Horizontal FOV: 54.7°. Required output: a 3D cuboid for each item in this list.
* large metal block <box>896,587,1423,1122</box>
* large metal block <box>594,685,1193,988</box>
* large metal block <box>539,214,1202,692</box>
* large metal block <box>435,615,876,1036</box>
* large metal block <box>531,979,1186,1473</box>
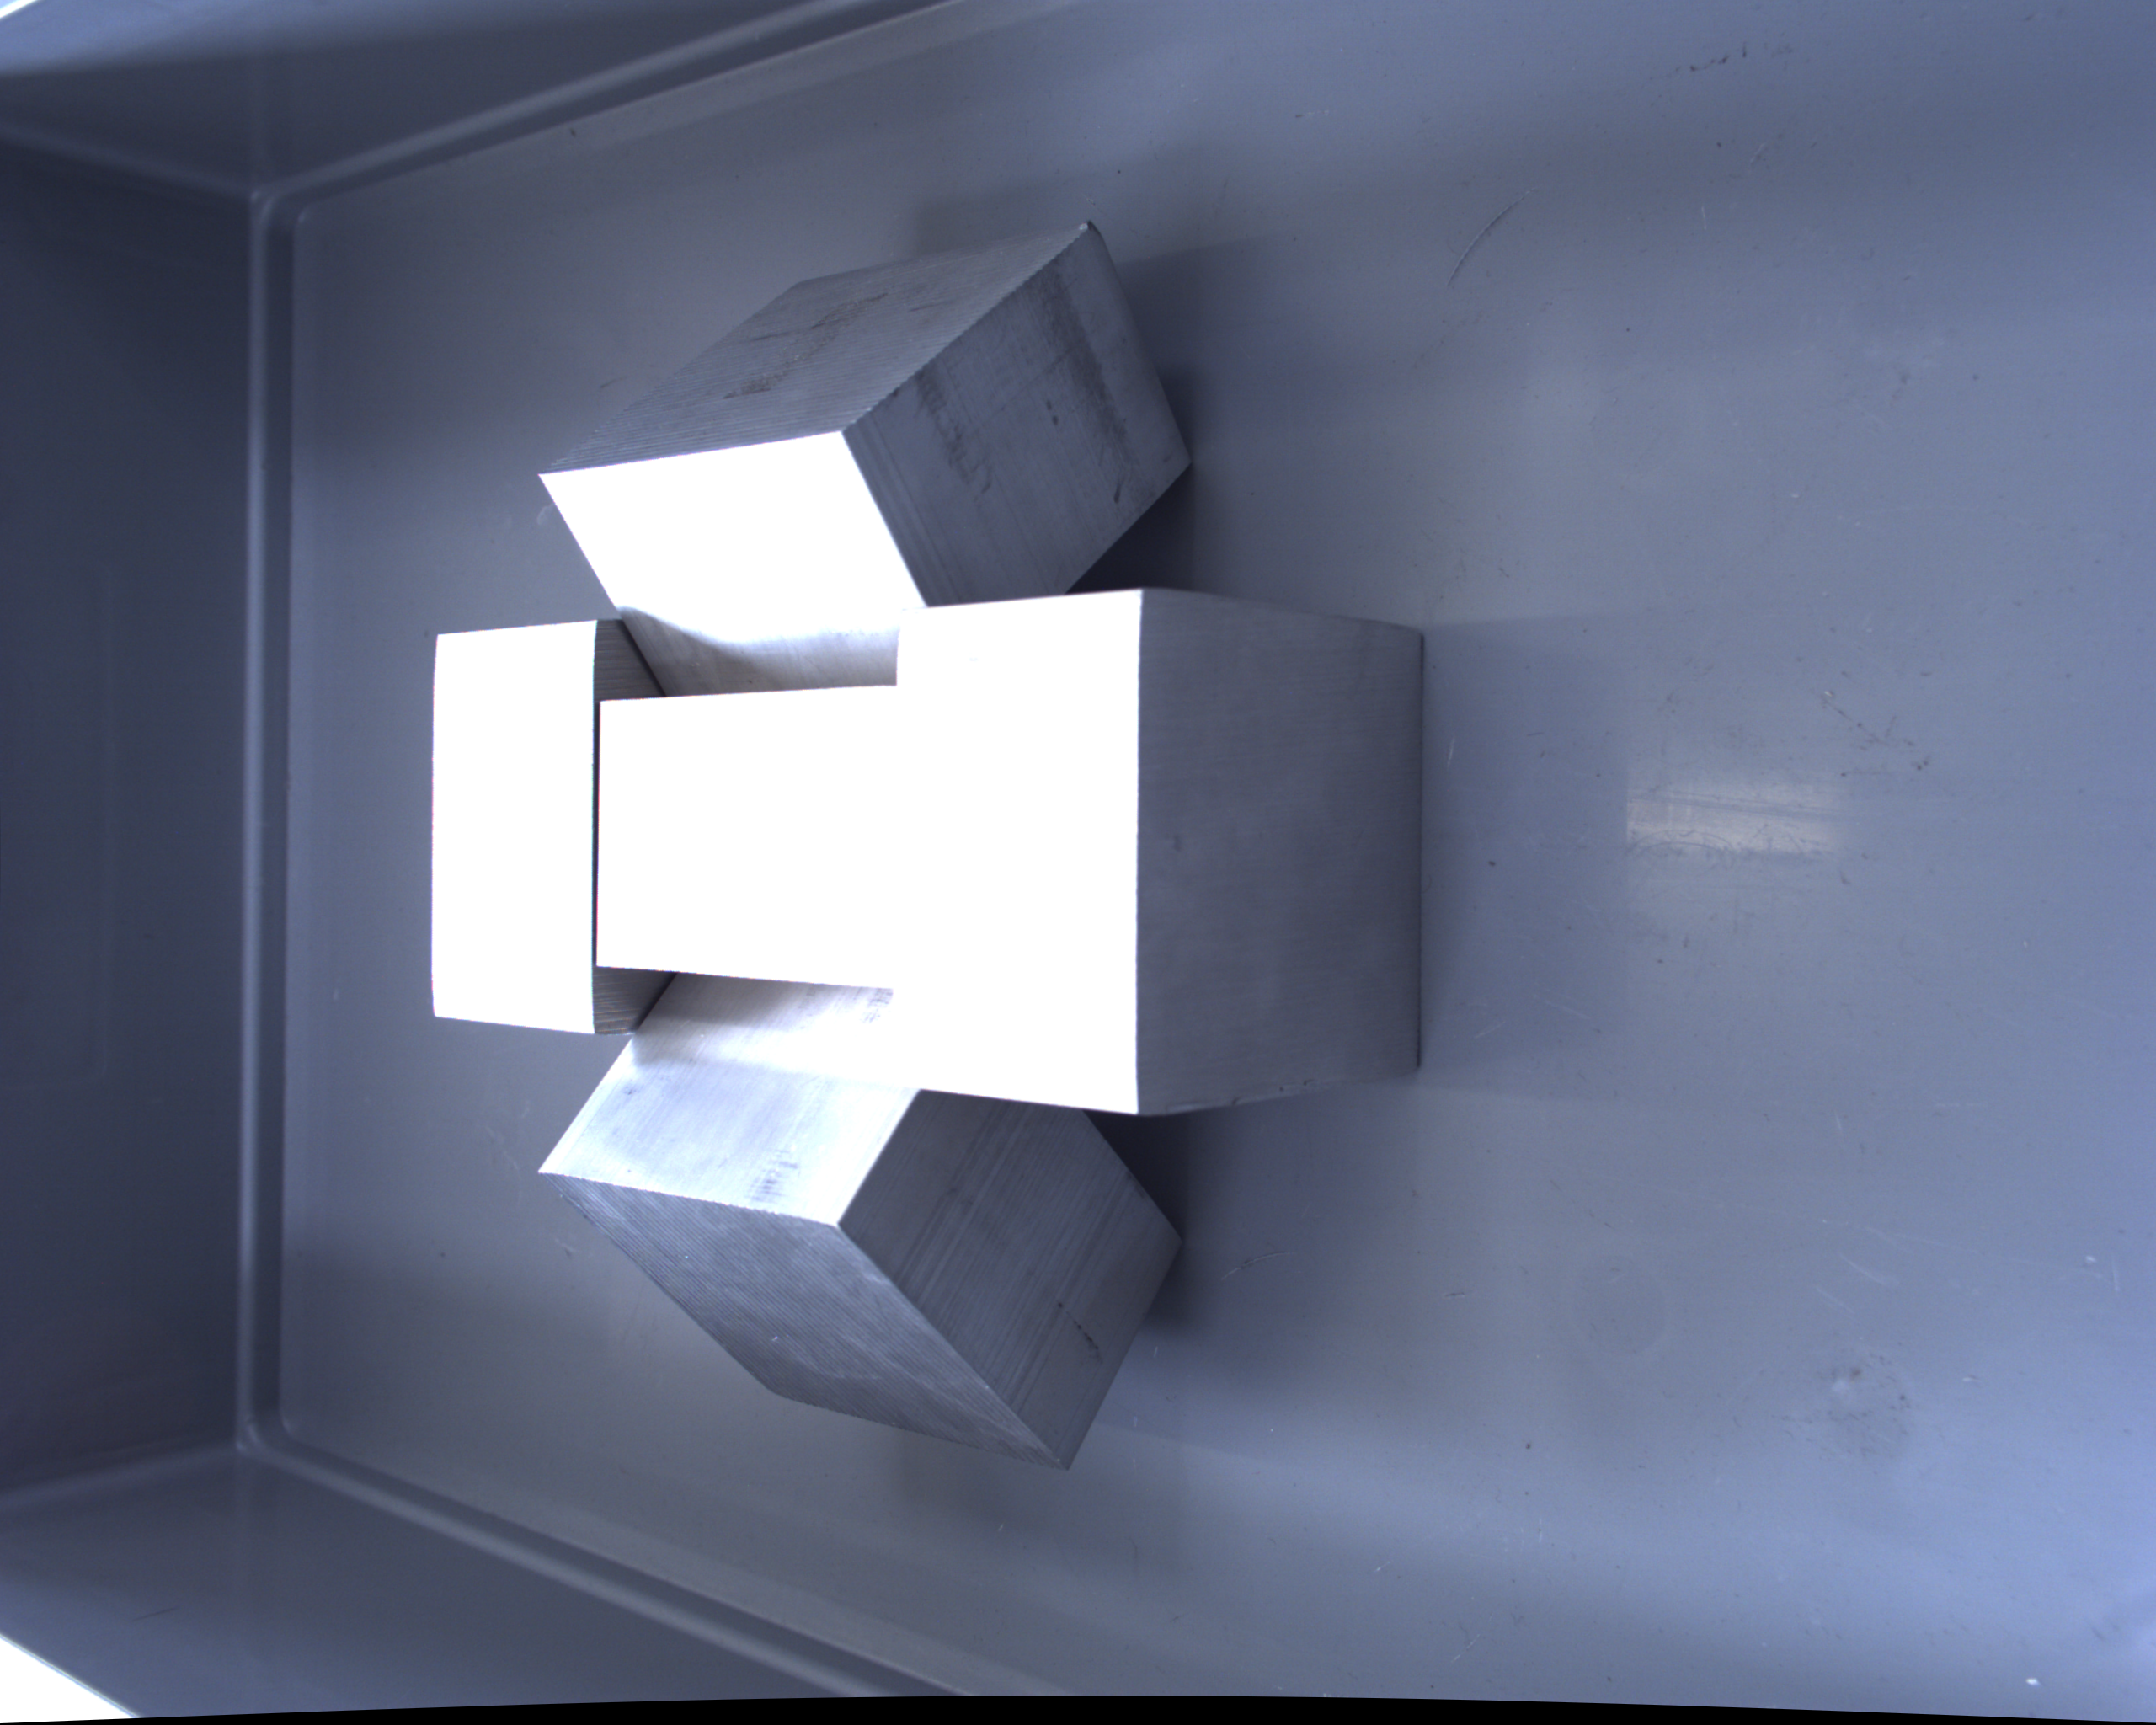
[{"bbox_3d":[0.016,-0.002,0.357,0.050,0.081,0.080,1,91,40],"label":"large metal block"},{"bbox_3d":[-0.034,-0.005,0.398,0.080,0.081,0.050,1,91,40],"label":"large metal block"},{"bbox_3d":[-0.037,-0.075,0.392,0.080,0.080,0.050,2,129,40],"label":"large metal block"},{"bbox_3d":[-0.086,-0.007,0.441,0.050,0.081,0.080,1,91,40],"label":"large metal block"},{"bbox_3d":[-0.040,0.065,0.393,0.080,0.080,0.050,1,49,39],"label":"large metal block"}]
